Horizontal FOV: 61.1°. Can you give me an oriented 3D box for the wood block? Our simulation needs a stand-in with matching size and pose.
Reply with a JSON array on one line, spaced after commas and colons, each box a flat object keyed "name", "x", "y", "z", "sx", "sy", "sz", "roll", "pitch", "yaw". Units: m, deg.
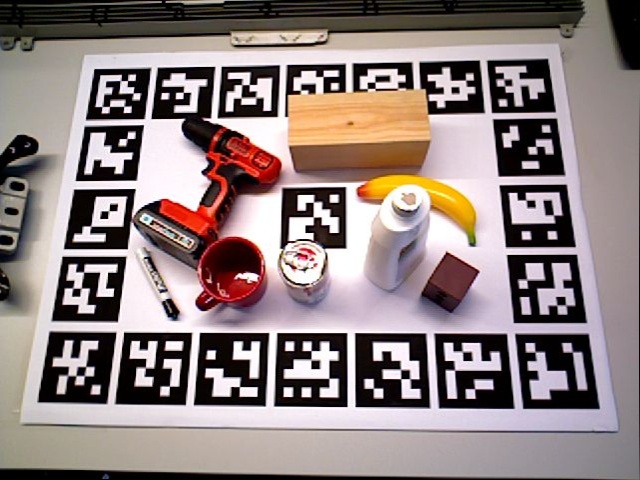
[{"name": "wood block", "x": 0.055, "y": -0.162, "z": 0.816, "sx": 0.205, "sy": 0.092, "sz": 0.089, "roll": -2, "pitch": 72, "yaw": 2}]

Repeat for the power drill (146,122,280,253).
[{"name": "power drill", "x": -0.178, "y": -0.076, "z": 0.821, "sx": 0.184, "sy": 0.058, "sz": 0.185, "roll": 28, "pitch": 74, "yaw": 8}]

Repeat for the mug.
[{"name": "mug", "x": -0.131, "y": 0.055, "z": 0.756, "sx": 0.093, "sy": 0.082, "sz": 0.116, "roll": 42, "pitch": 81, "yaw": 13}]

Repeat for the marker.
[{"name": "marker", "x": -0.245, "y": 0.071, "z": 0.793, "sx": 0.019, "sy": 0.020, "sz": 0.121, "roll": -30, "pitch": 73, "yaw": -6}]

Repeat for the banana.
[{"name": "banana", "x": 0.136, "y": -0.072, "z": 0.805, "sx": 0.197, "sy": 0.039, "sz": 0.074, "roll": 15, "pitch": 86, "yaw": 5}]

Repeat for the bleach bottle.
[{"name": "bleach bottle", "x": 0.099, "y": -0.010, "z": 0.676, "sx": 0.068, "sy": 0.254, "sz": 0.101, "roll": 28, "pitch": 72, "yaw": 12}]

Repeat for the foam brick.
[{"name": "foam brick", "x": 0.180, "y": 0.063, "z": 0.741, "sx": 0.053, "sy": 0.079, "sz": 0.051, "roll": 32, "pitch": 72, "yaw": 14}]

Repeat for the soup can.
[{"name": "soup can", "x": -0.023, "y": 0.044, "z": 0.737, "sx": 0.067, "sy": 0.103, "sz": 0.067, "roll": 0, "pitch": 66, "yaw": 0}]
